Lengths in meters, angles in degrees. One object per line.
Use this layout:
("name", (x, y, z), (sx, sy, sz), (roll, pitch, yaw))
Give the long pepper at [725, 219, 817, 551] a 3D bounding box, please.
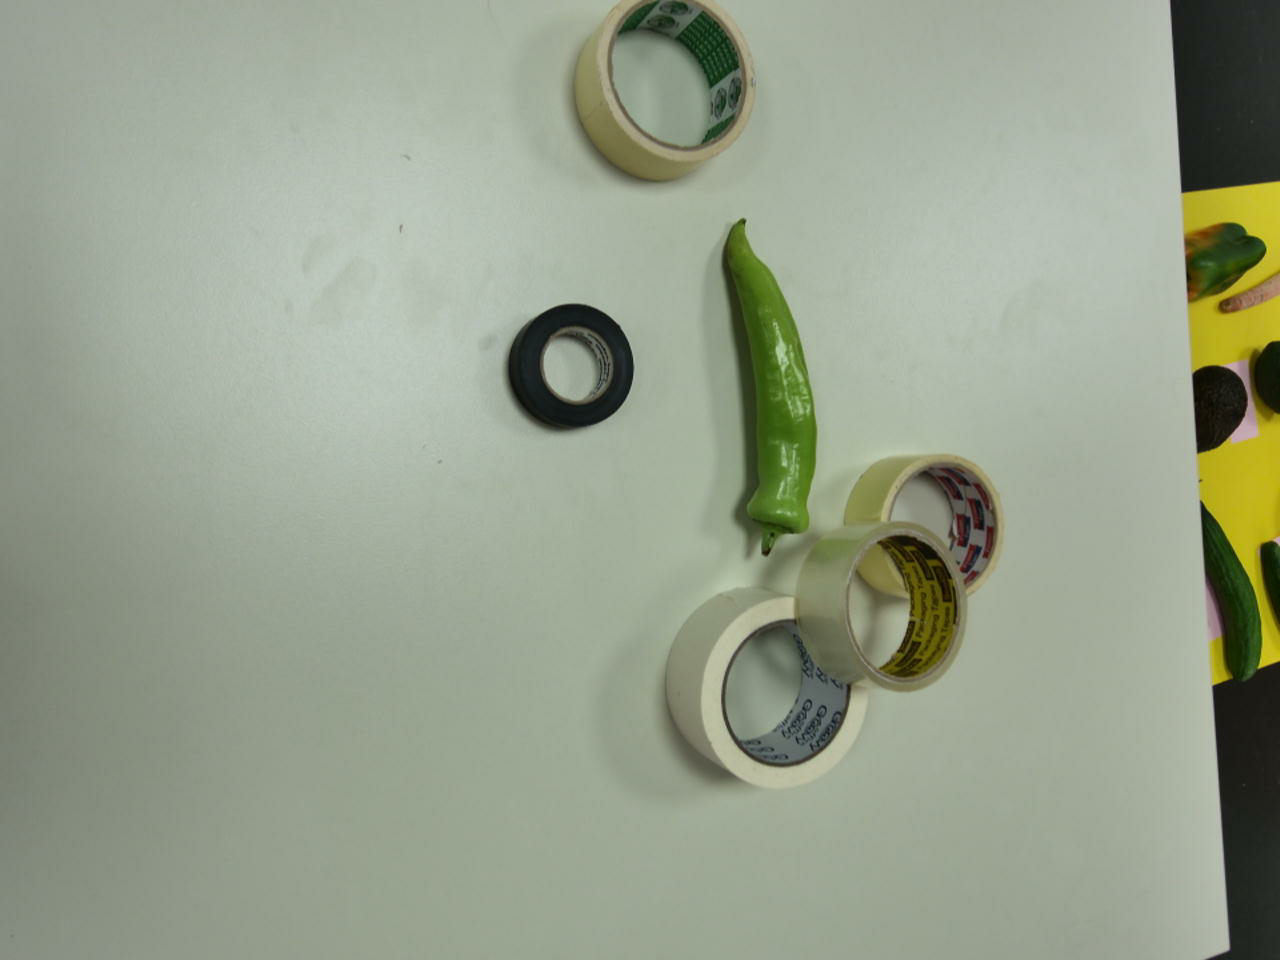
("long pepper", (0.079, -0.056, 0.582), (0.046, 0.038, 0.197), (-4, 92, -22))
